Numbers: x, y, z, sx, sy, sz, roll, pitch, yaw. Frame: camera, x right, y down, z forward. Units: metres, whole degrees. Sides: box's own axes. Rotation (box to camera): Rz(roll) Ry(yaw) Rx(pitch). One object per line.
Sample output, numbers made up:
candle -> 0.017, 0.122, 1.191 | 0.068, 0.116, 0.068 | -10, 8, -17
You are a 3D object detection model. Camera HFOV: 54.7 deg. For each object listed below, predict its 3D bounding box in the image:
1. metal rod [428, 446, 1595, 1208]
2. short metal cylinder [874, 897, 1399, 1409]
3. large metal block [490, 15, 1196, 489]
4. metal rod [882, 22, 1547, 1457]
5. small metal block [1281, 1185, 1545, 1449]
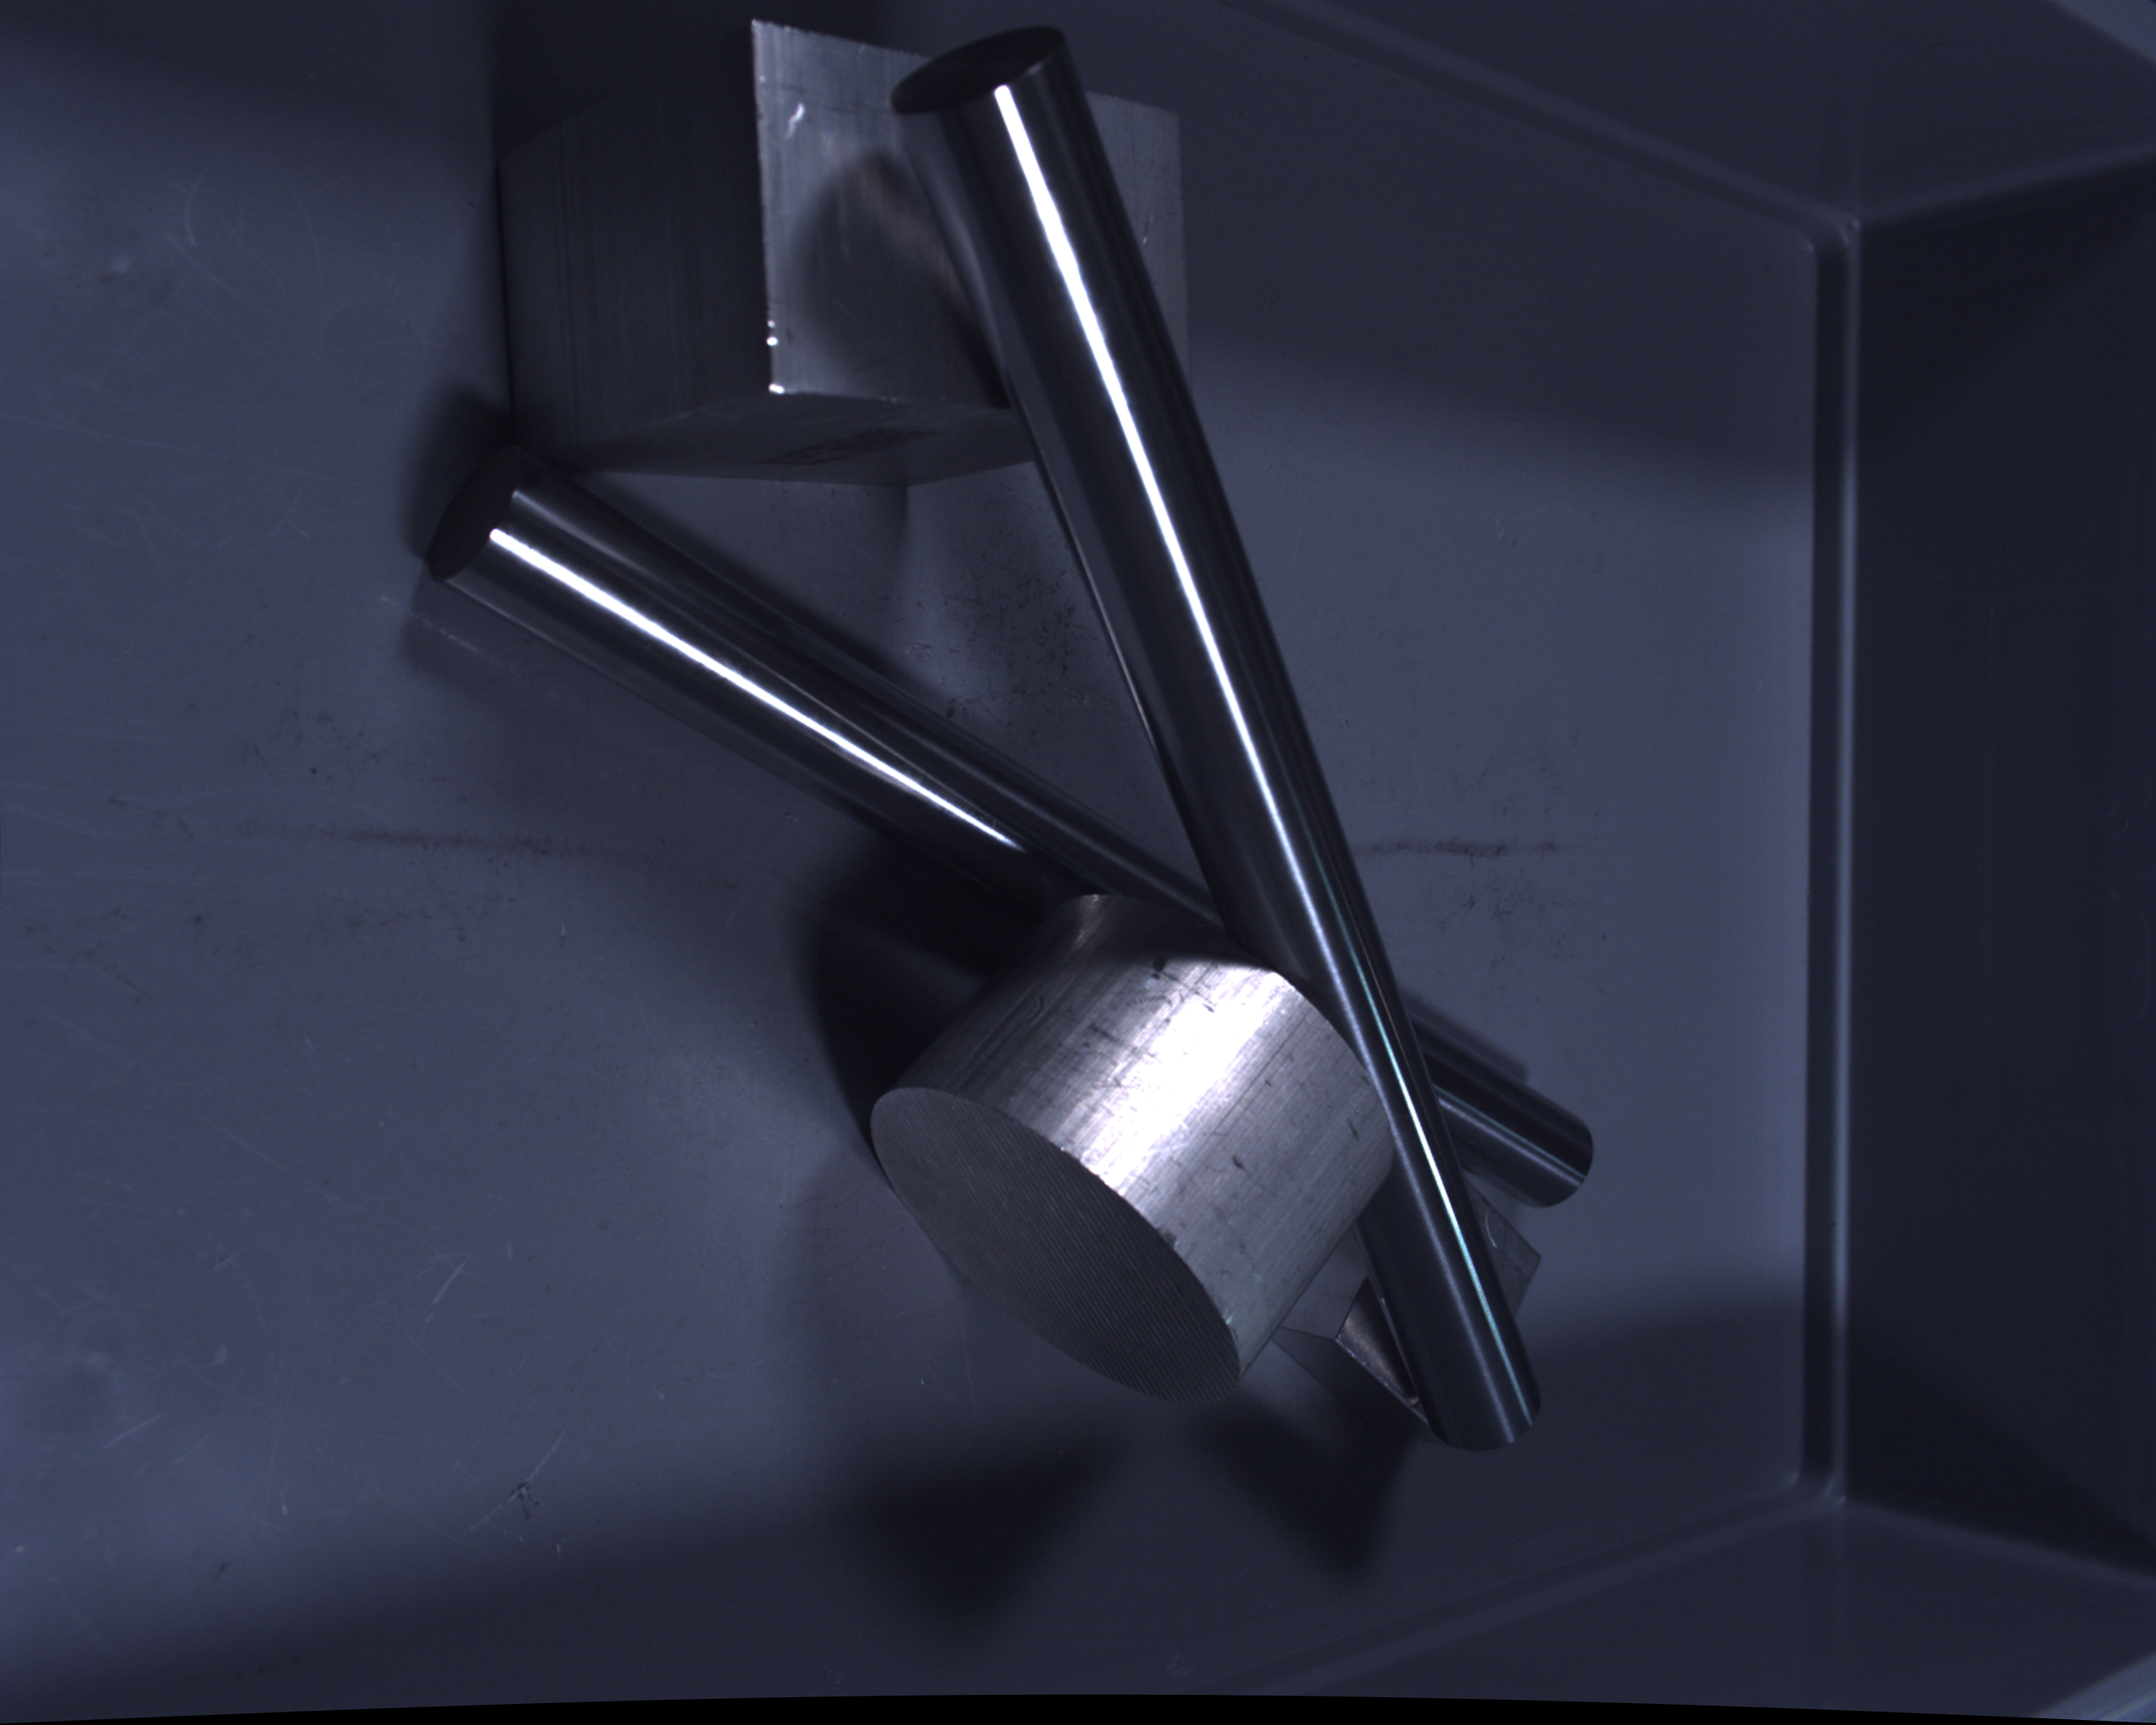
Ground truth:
metal rod -> 0.010, 0.008, 0.415 | 0.301, 0.025, 0.025 | 31, 71, -36
short metal cylinder -> 0.010, 0.053, 0.379 | 0.050, 0.080, 0.080 | -48, 119, -30
large metal block -> -0.039, -0.093, 0.339 | 0.081, 0.080, 0.050 | -5, 94, -40
metal rod -> 0.037, 0.006, 0.362 | 0.025, 0.025, 0.299 | -48, 131, -29
small metal block -> 0.073, 0.096, 0.469 | 0.050, 0.025, 0.050 | 46, 63, -31
